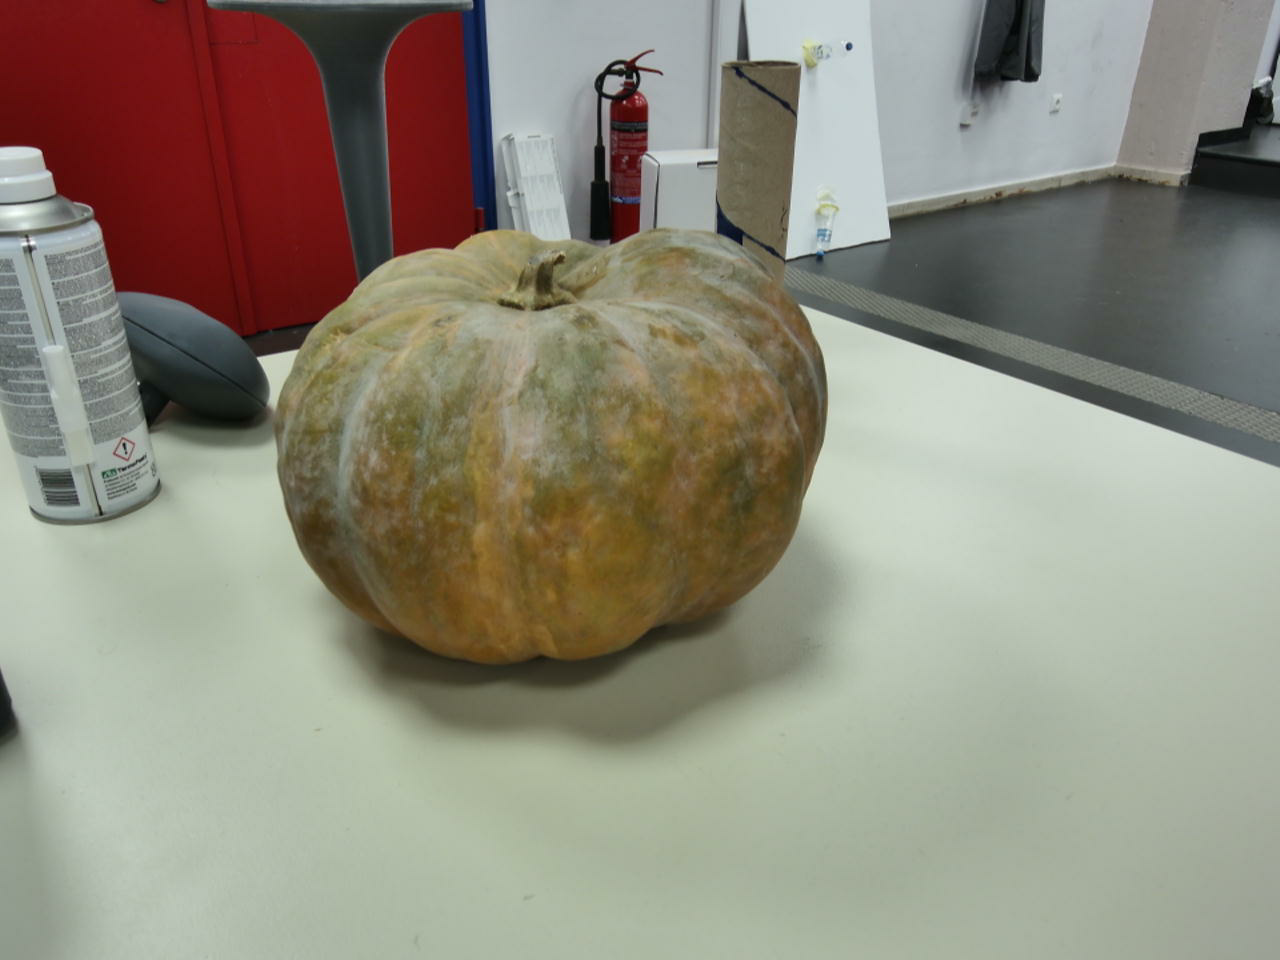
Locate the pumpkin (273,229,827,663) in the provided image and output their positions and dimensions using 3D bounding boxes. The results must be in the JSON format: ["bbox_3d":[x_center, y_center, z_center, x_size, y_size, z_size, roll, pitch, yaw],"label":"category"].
[{"bbox_3d":[-0.041,-0.023,0.459,0.252,0.169,0.251,0,25,0],"label":"pumpkin"}]
